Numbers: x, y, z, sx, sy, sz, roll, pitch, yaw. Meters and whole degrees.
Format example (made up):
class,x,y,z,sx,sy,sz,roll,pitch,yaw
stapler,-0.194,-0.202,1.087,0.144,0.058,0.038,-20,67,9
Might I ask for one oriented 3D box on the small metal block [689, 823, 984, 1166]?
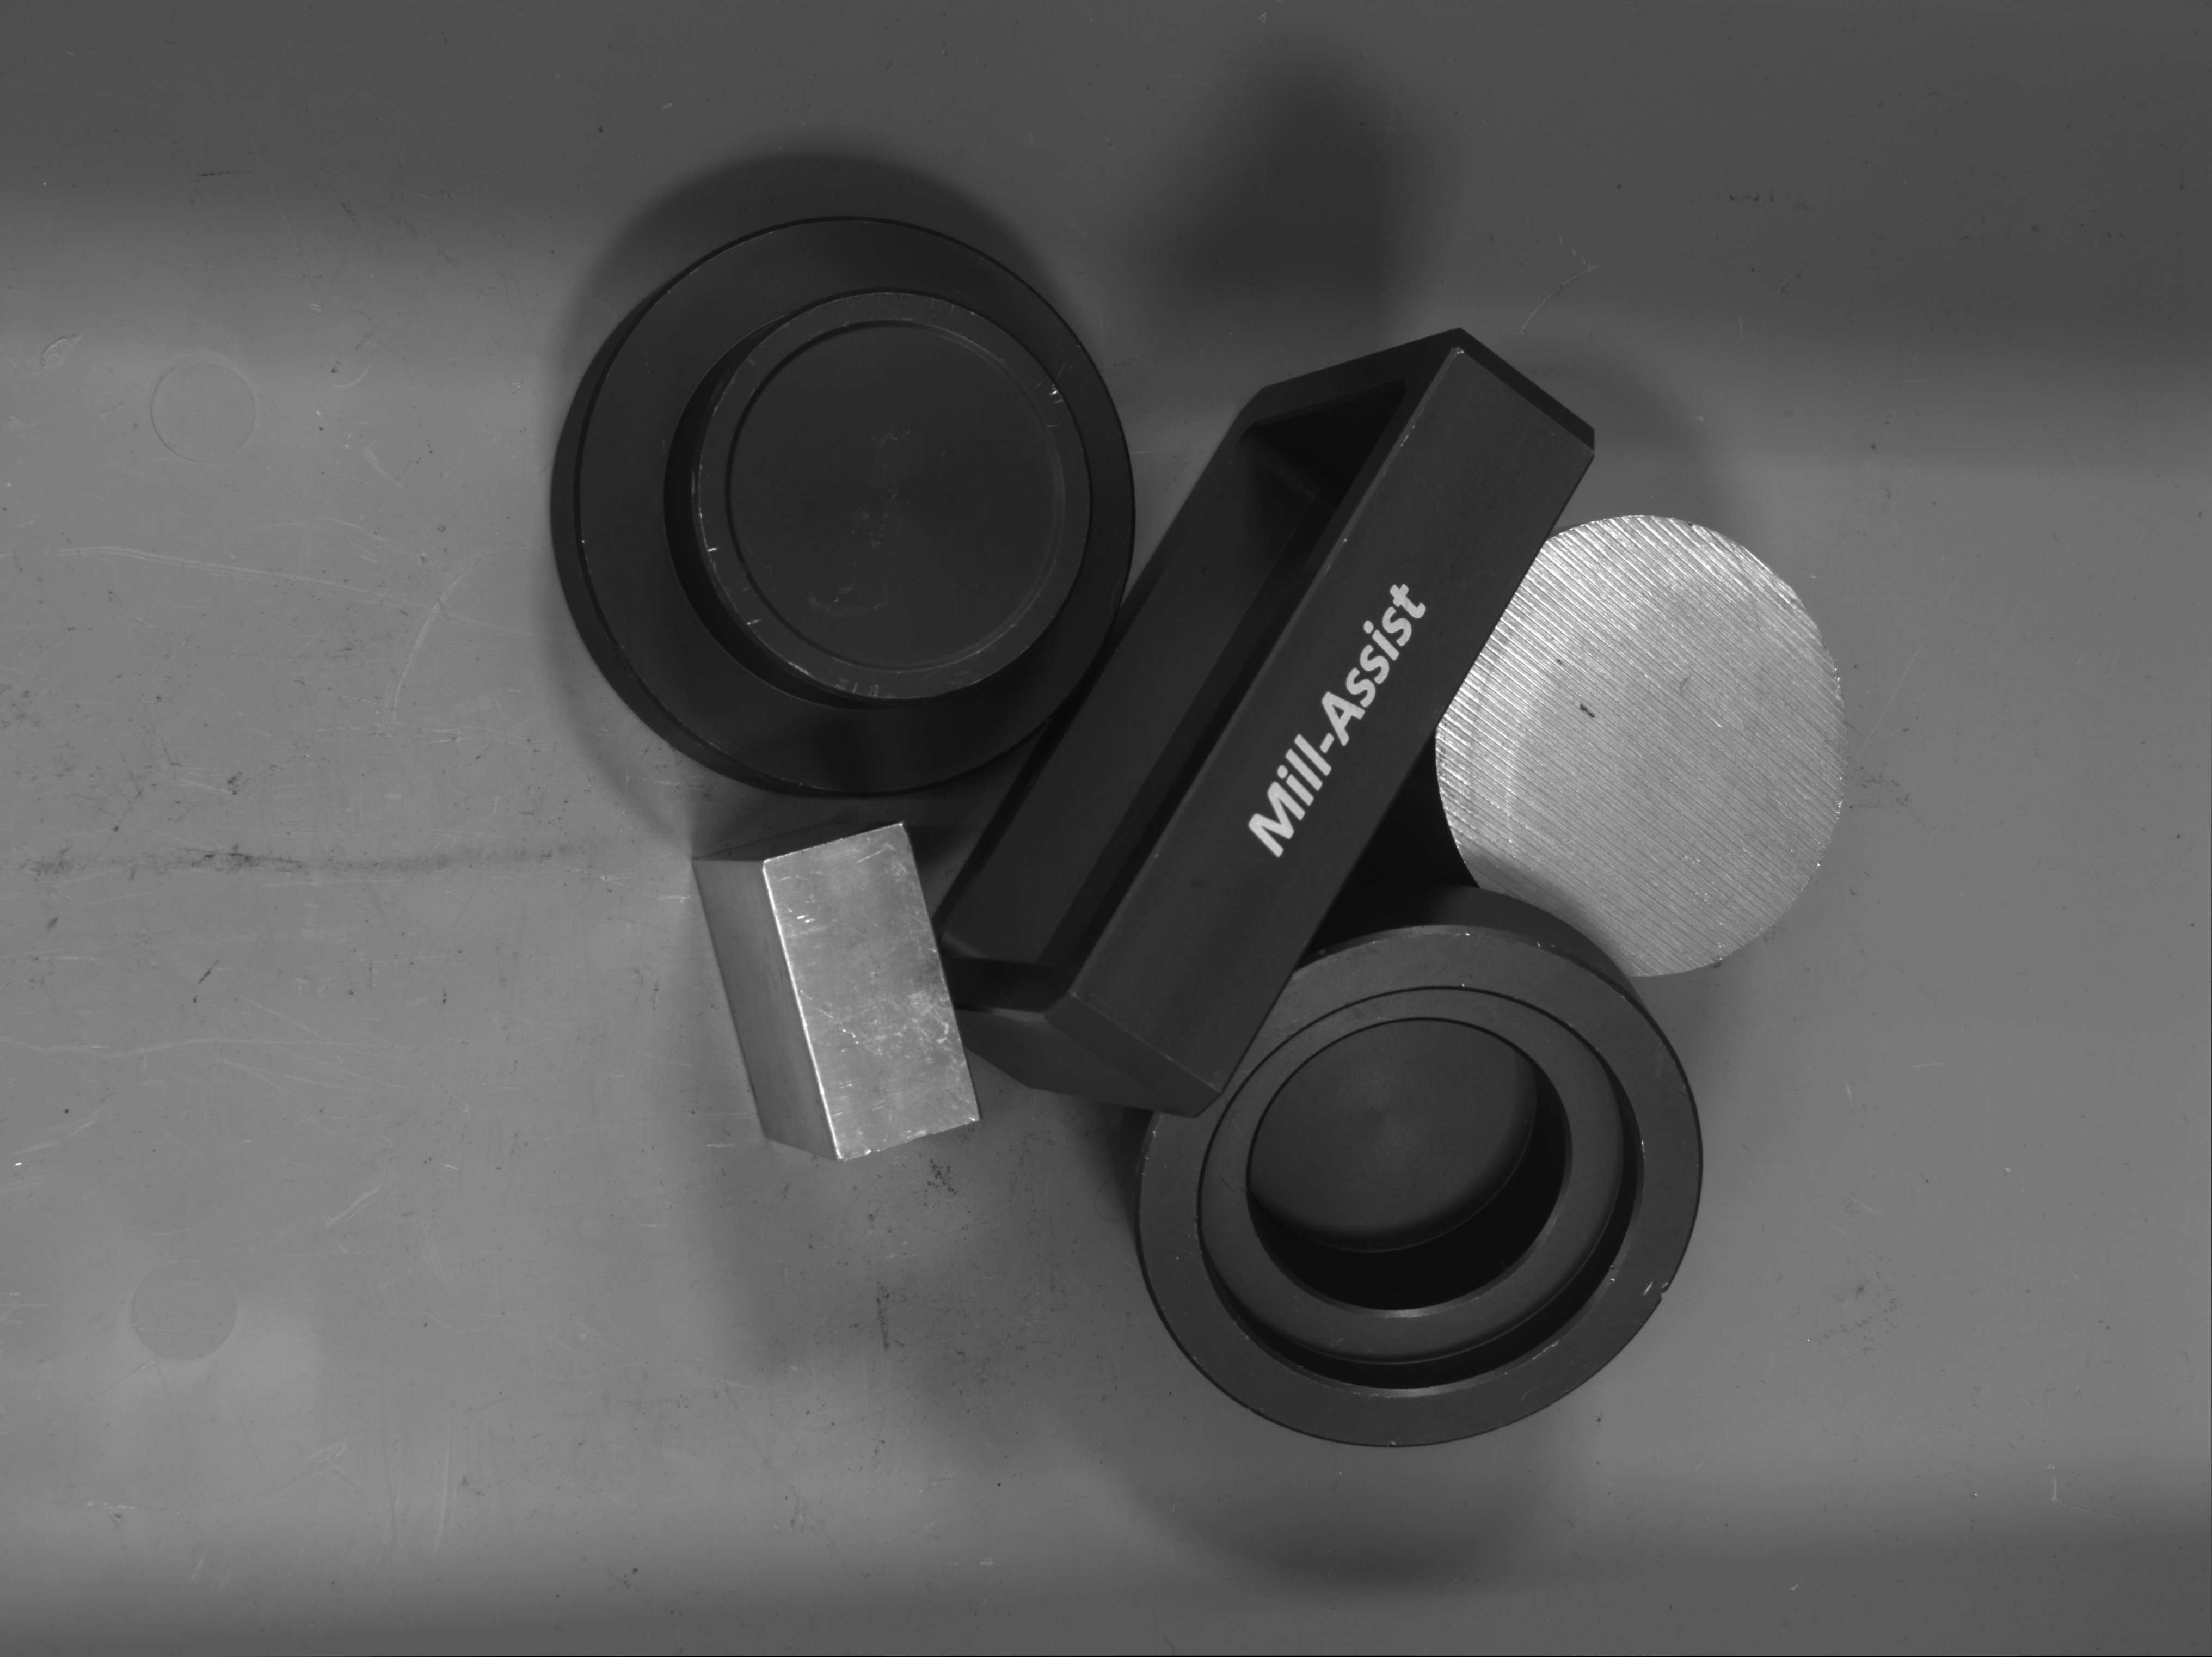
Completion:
class,x,y,z,sx,sy,sz,roll,pitch,yaw
small metal block,-0.046,0.026,0.612,0.025,0.050,0.050,-16,95,-19

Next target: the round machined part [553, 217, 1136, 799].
class,x,y,z,sx,sy,sz,roll,pitch,yaw
round machined part,-0.041,-0.054,0.618,0.098,0.042,0.098,0,90,-20

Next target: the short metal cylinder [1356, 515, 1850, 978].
class,x,y,z,sx,sy,sz,roll,pitch,yaw
short metal cylinder,0.086,-0.014,0.659,0.080,0.050,0.080,0,90,-20

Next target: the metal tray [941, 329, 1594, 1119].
class,x,y,z,sx,sy,sz,roll,pitch,yaw
metal tray,0.021,-0.017,0.615,0.030,0.090,0.130,34,79,-16

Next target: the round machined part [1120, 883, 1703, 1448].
class,x,y,z,sx,sy,sz,roll,pitch,yaw
round machined part,0.051,0.055,0.639,0.098,0.042,0.098,-3,111,-7
